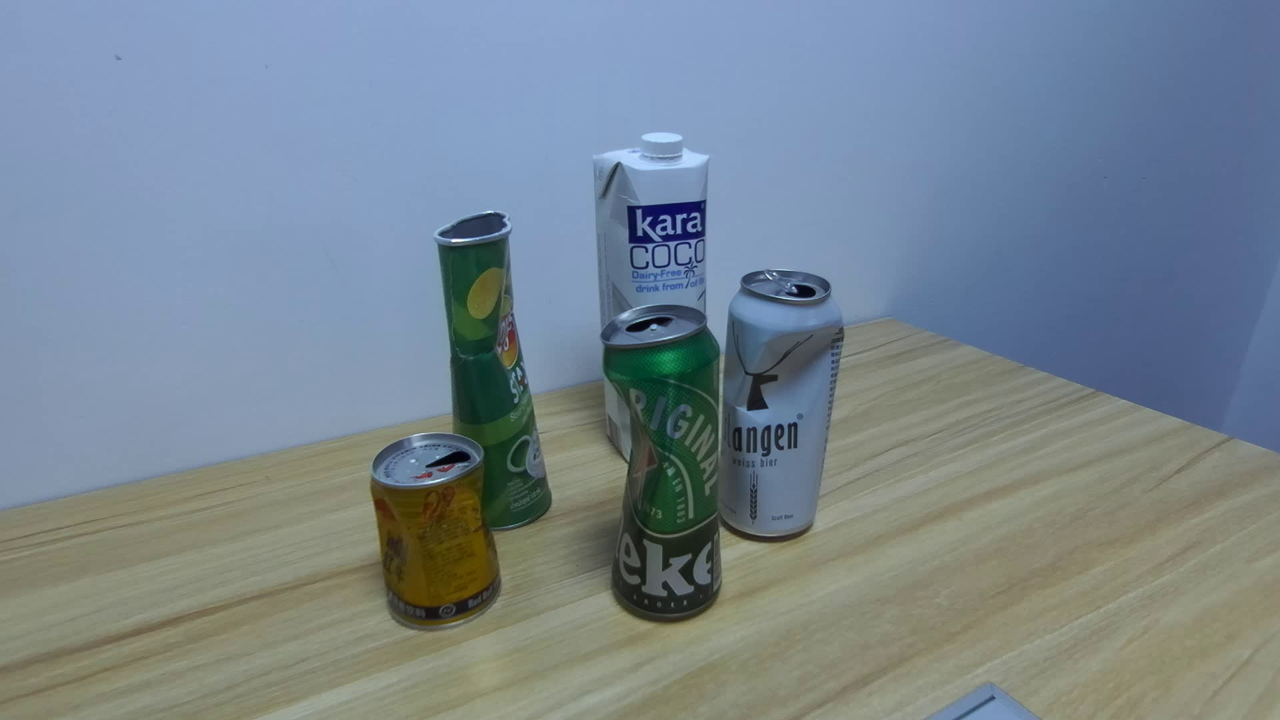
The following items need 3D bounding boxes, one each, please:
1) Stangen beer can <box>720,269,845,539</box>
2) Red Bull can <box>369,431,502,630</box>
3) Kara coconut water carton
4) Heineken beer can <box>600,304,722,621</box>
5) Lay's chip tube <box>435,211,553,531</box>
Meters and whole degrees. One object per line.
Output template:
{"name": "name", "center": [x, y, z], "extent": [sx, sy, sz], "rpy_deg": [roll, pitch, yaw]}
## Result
{"name": "Stangen beer can", "center": [0.087, 0.030, 0.451], "extent": [0.070, 0.173, 0.070], "rpy_deg": [11, 26, 25]}
{"name": "Red Bull can", "center": [-0.115, 0.095, 0.401], "extent": [0.072, 0.092, 0.072], "rpy_deg": [-1, 21, 1]}
{"name": "Kara coconut water carton", "center": [0.010, -0.045, 0.541], "extent": [0.077, 0.245, 0.075], "rpy_deg": [-8, 20, -18]}
{"name": "Heineken beer can", "center": [0.013, 0.058, 0.390], "extent": [0.069, 0.168, 0.068], "rpy_deg": [12, 26, 35]}
{"name": "Lay's chip tube", "center": [-0.101, 0.011, 0.475], "extent": [0.069, 0.199, 0.074], "rpy_deg": [-17, 25, -35]}
